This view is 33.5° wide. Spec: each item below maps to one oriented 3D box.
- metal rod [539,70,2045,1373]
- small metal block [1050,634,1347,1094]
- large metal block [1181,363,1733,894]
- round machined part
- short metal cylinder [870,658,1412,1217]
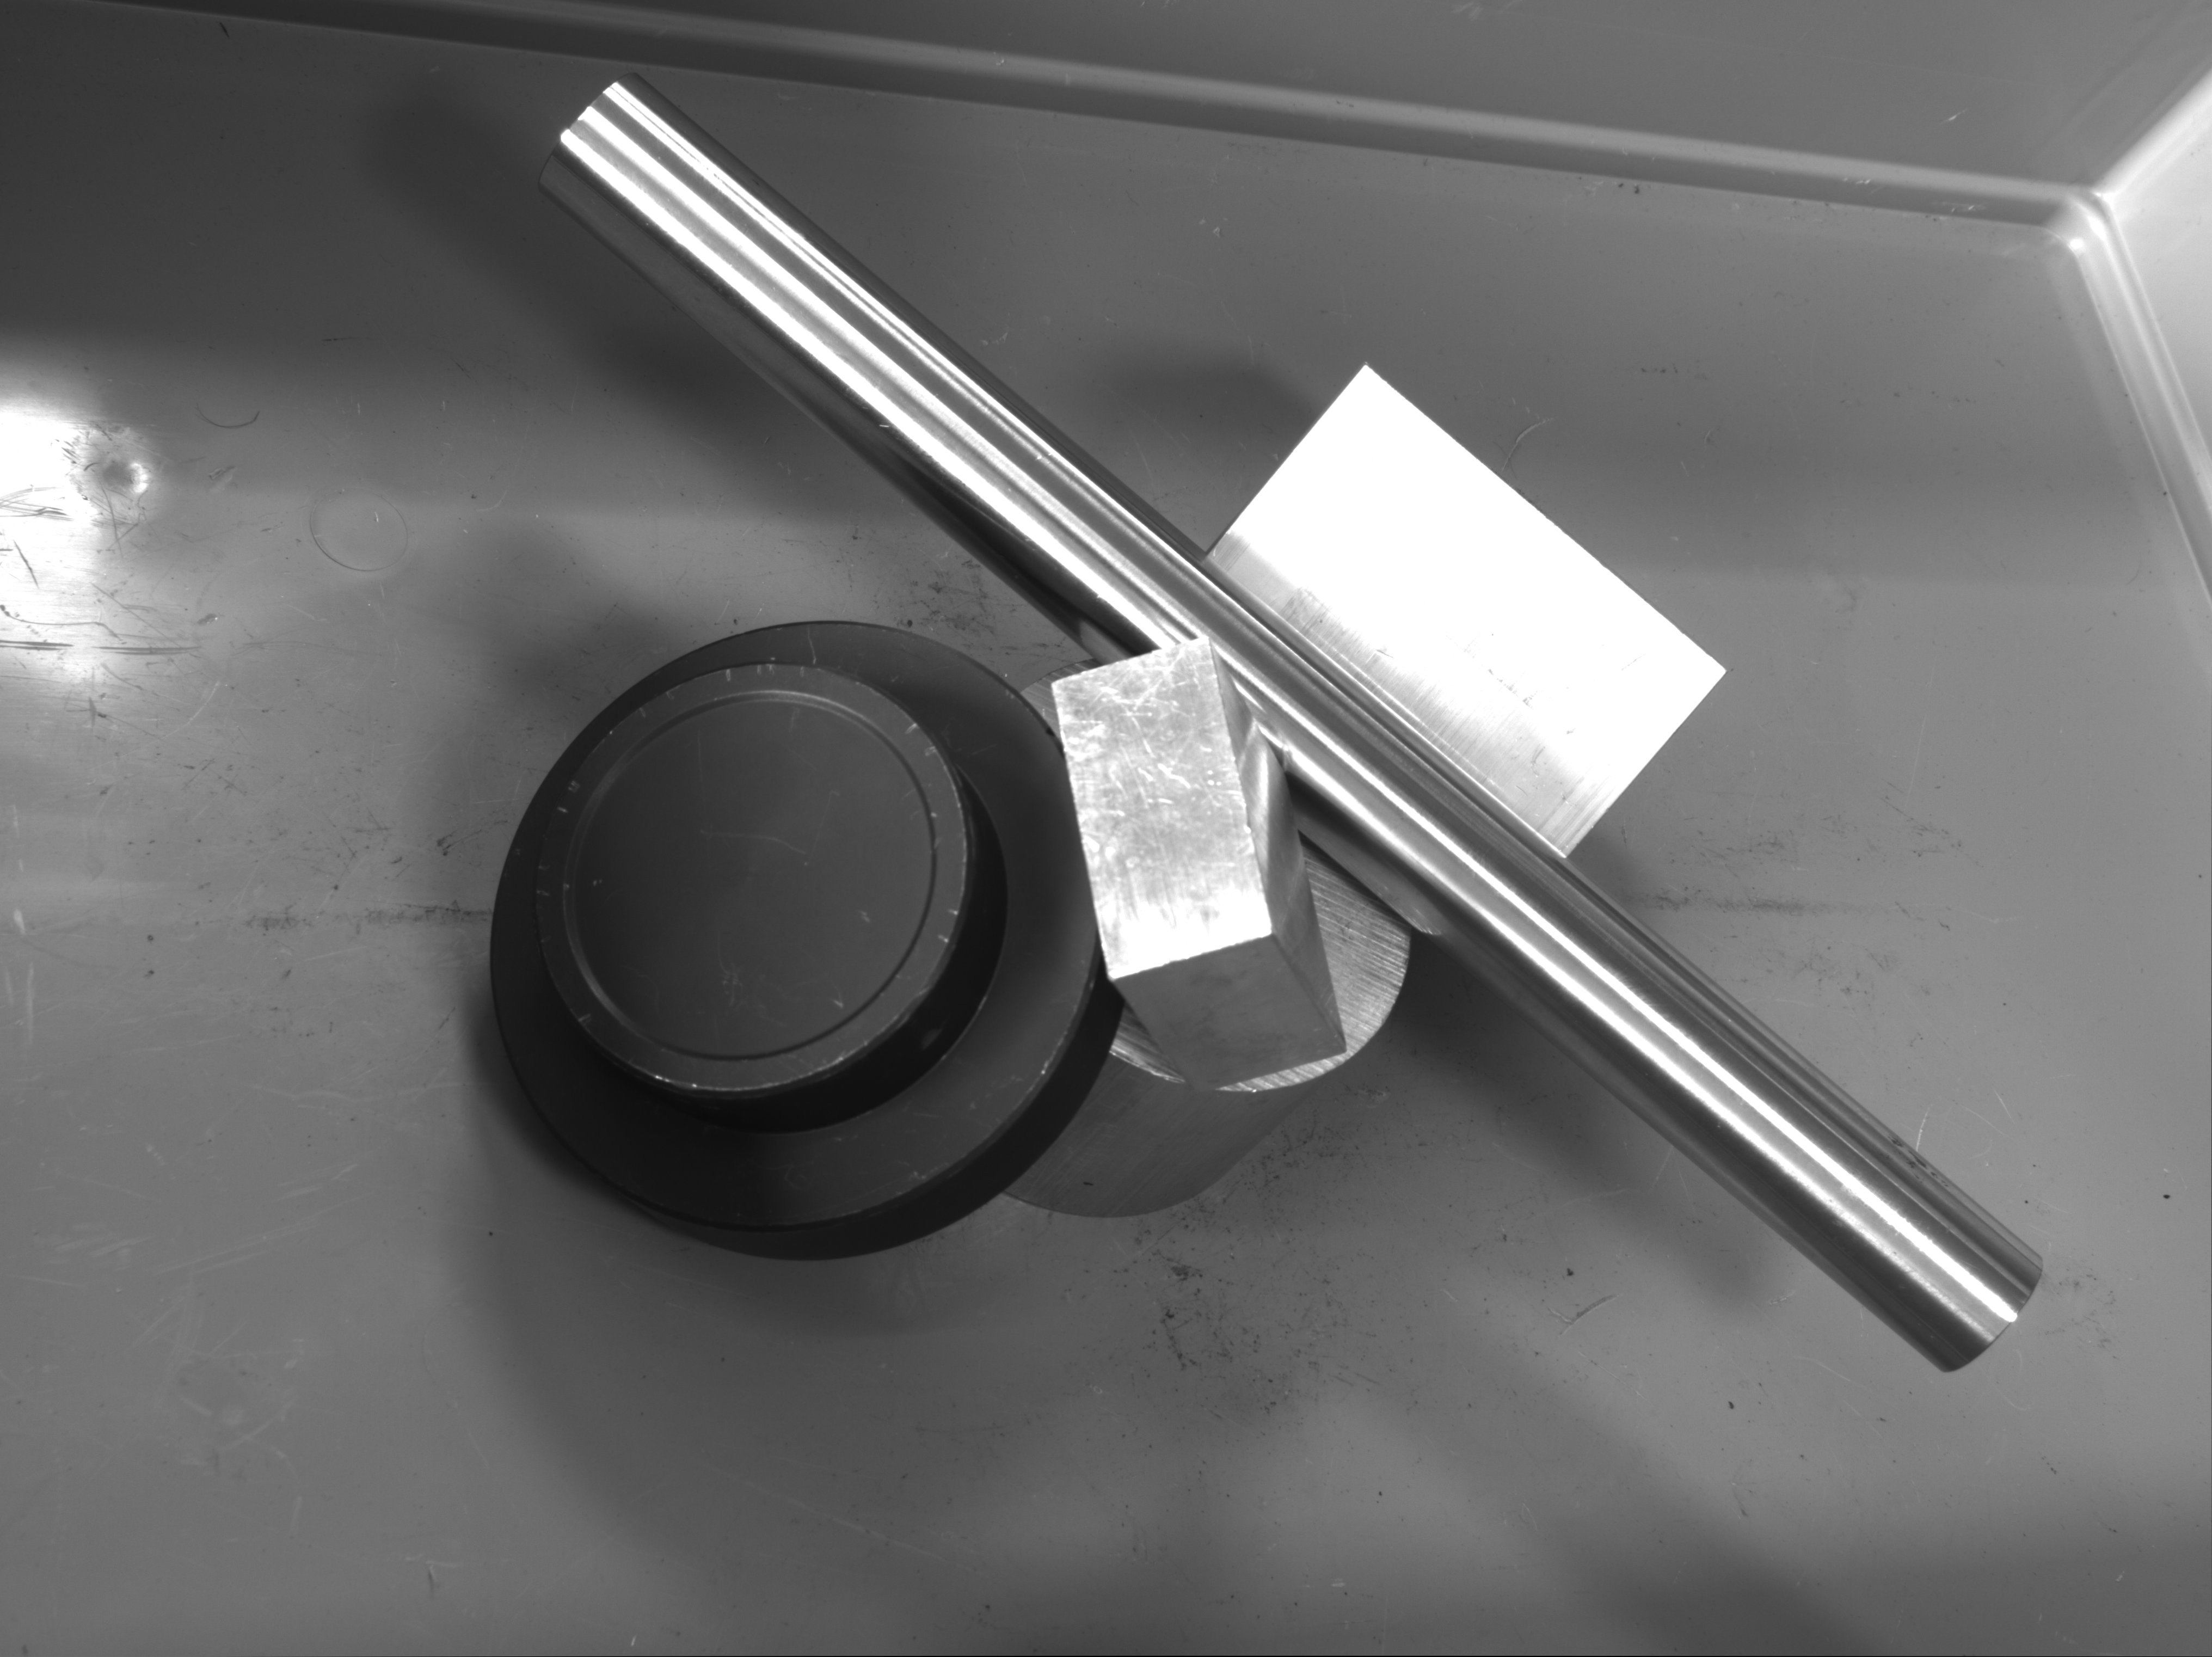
[{"bbox_3d":[0.031,-0.017,0.600,0.300,0.025,0.025,40,51,-1],"label":"metal rod"},{"bbox_3d":[0.014,0.006,0.559,0.025,0.050,0.050,-16,63,9],"label":"small metal block"},{"bbox_3d":[0.060,-0.037,0.649,0.080,0.050,0.080,40,8,-1],"label":"large metal block"},{"bbox_3d":[-0.048,0.014,0.560,0.098,0.042,0.098,-4,70,11],"label":"round machined part"},{"bbox_3d":[0.004,0.018,0.613,0.080,0.050,0.080,13,56,-21],"label":"short metal cylinder"}]
